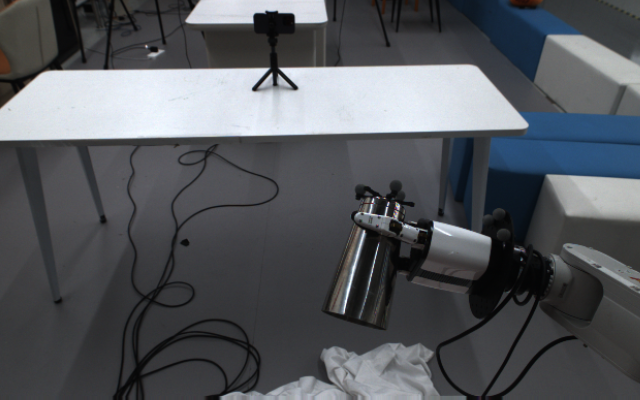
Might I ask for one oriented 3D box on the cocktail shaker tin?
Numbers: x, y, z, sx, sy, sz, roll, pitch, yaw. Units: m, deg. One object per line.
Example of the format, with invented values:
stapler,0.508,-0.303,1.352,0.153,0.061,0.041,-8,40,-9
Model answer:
cocktail shaker tin,0.070,0.082,0.679,0.093,0.093,0.170,12,72,14
